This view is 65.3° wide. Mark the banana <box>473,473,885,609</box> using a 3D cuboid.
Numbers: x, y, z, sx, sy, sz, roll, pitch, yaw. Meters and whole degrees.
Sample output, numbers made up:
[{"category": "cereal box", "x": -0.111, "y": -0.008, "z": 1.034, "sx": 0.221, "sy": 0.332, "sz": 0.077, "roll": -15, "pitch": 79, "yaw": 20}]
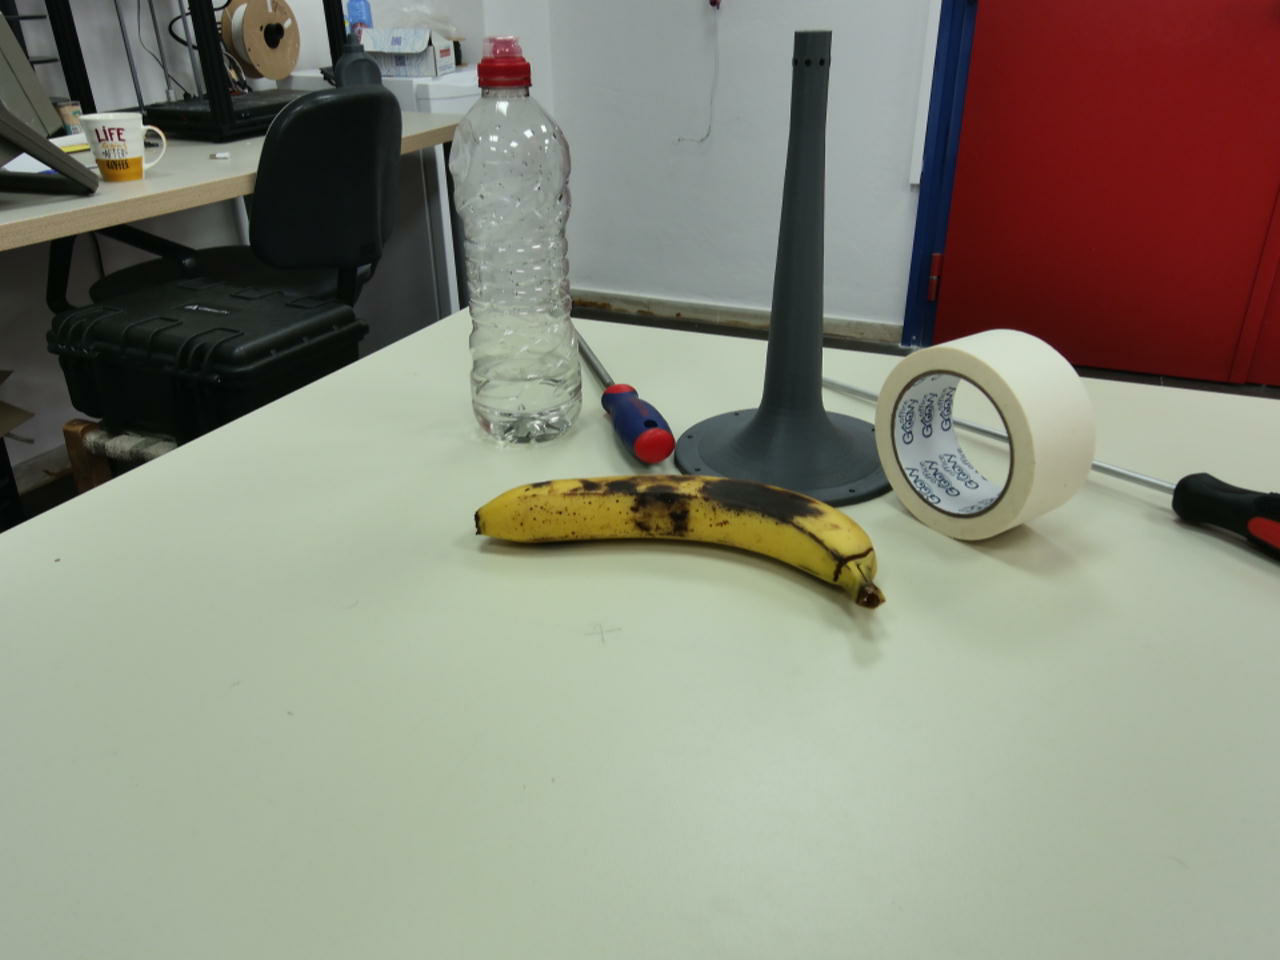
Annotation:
[{"category": "banana", "x": 0.025, "y": 0.024, "z": 0.529, "sx": 0.222, "sy": 0.037, "sz": 0.084, "roll": 11, "pitch": 27, "yaw": 23}]
